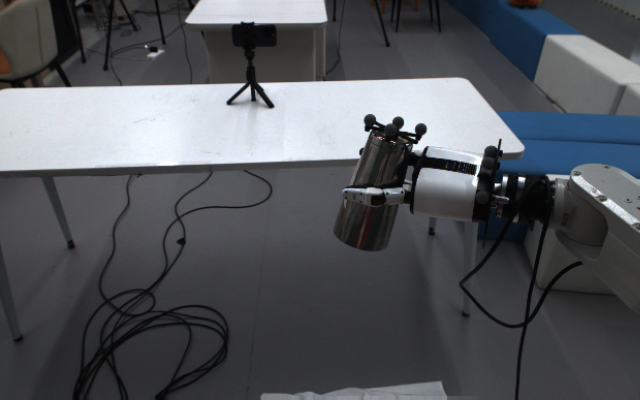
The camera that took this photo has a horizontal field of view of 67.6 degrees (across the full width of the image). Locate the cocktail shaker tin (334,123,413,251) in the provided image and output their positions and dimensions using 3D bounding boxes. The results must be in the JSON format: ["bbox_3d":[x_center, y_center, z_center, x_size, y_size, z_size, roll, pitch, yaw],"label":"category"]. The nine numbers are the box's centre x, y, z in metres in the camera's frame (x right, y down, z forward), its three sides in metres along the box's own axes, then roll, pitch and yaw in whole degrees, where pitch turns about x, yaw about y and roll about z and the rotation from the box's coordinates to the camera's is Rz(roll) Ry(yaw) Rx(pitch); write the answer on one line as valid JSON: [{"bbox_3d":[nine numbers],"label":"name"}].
[{"bbox_3d":[0.087,-0.020,0.742,0.093,0.170,0.093,12,24,-5],"label":"cocktail shaker tin"}]
